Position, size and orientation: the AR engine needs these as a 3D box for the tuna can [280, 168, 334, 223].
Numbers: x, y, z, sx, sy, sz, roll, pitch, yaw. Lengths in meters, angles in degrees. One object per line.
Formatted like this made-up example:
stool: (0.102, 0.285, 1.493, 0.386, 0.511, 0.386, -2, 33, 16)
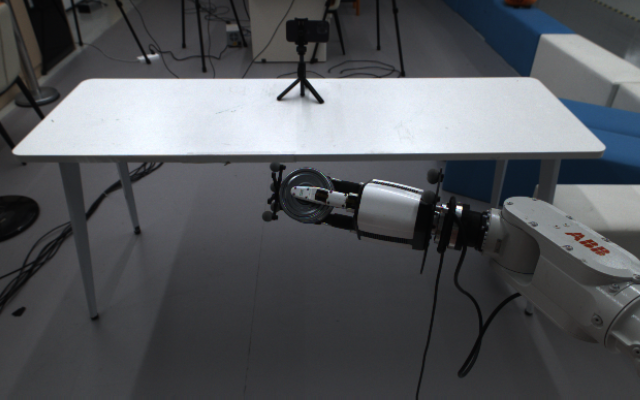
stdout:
tuna can: (-0.017, -0.008, 0.751, 0.085, 0.085, 0.034, 10, -6, 11)
